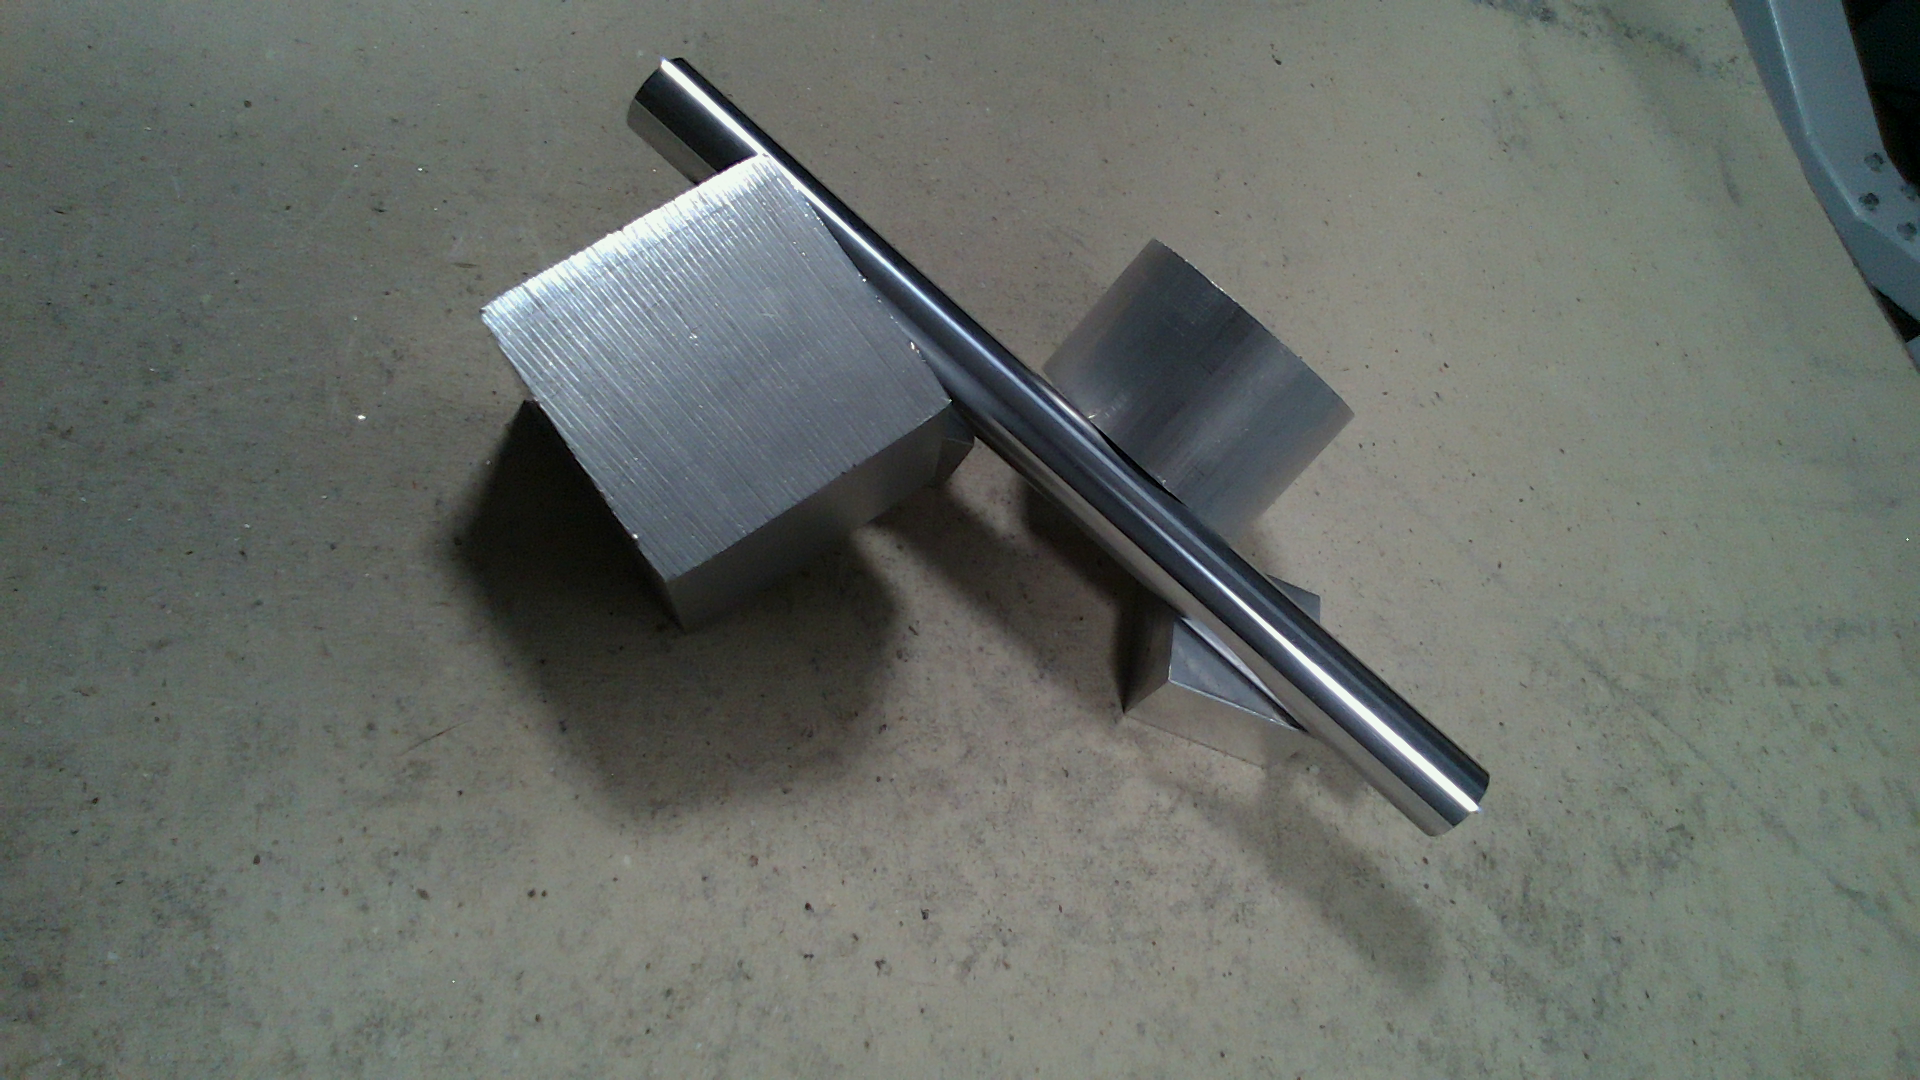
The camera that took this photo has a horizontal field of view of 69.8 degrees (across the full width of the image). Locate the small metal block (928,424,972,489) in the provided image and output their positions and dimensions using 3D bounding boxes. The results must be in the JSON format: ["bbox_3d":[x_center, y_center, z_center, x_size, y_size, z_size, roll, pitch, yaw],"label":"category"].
[{"bbox_3d":[-0.025,-0.047,0.406,0.050,0.025,0.050,12,57,-22],"label":"small metal block"}]

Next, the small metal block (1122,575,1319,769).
[{"bbox_3d":[0.079,0.034,0.412,0.050,0.025,0.050,22,53,-15],"label":"small metal block"}]

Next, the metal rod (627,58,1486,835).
[{"bbox_3d":[0.027,-0.026,0.388,0.300,0.025,0.025,42,51,0],"label":"metal rod"}]

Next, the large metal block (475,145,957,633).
[{"bbox_3d":[-0.059,-0.036,0.344,0.080,0.050,0.080,-33,80,-14],"label":"large metal block"}]

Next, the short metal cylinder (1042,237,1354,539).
[{"bbox_3d":[0.071,-0.045,0.414,0.080,0.050,0.080,40,11,-9],"label":"short metal cylinder"}]
